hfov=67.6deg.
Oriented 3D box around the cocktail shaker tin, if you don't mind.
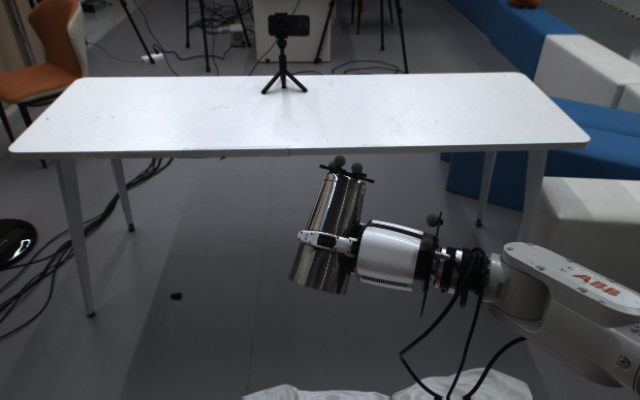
[{"bbox_3d":[0.018,0.049,0.741,0.093,0.170,0.093,15,-4,1],"label":"cocktail shaker tin"}]
